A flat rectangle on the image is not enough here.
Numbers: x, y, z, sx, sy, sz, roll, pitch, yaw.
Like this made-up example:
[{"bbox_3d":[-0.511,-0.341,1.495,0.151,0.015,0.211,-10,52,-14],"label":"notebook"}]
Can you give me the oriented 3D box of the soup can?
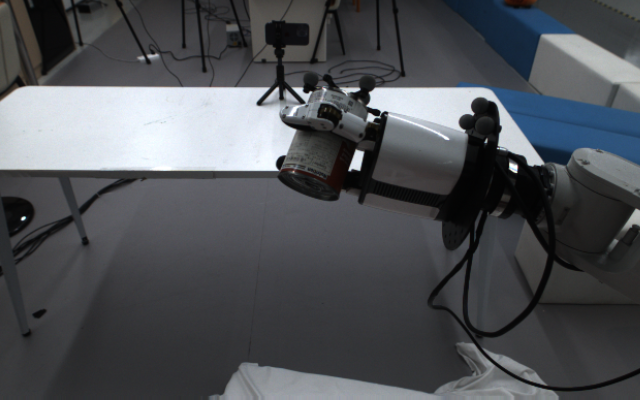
[{"bbox_3d":[0.006,-0.059,0.513,0.067,0.067,0.101,15,76,18],"label":"soup can"}]
